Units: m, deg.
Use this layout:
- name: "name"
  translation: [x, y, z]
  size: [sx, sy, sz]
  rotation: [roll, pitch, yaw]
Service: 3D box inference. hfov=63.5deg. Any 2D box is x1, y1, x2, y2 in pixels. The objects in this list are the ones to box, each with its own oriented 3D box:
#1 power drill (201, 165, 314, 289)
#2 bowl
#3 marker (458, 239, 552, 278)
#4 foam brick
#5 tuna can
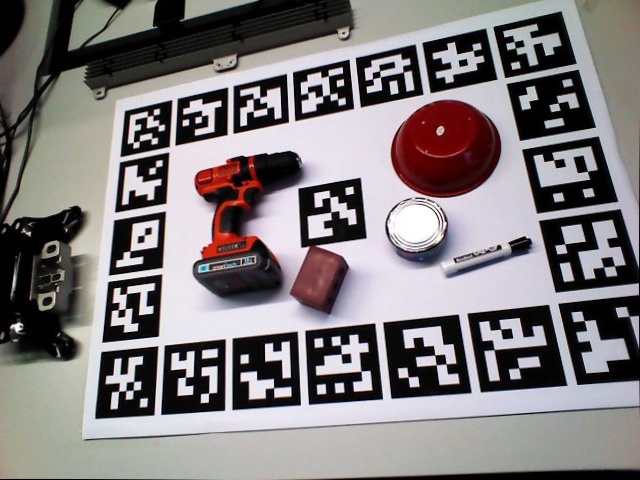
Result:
- name: "power drill"
  translation: [-0.096, -0.026, 0.796]
  size: [0.185, 0.057, 0.186]
  rotation: [-9, 65, 10]
- name: "bowl"
  translation: [0.200, -0.141, 0.754]
  size: [0.162, 0.055, 0.161]
  rotation: [-10, 61, 17]
- name: "marker"
  translation: [0.245, 0.024, 0.685]
  size: [0.121, 0.019, 0.019]
  rotation: [-18, 67, 10]
- name: "foam brick"
  translation: [0.022, 0.063, 0.731]
  size: [0.051, 0.053, 0.078]
  rotation: [16, 77, 21]
- name: "tuna can"
  translation: [0.158, -0.014, 0.719]
  size: [0.086, 0.034, 0.085]
  rotation: [-5, 69, 13]
